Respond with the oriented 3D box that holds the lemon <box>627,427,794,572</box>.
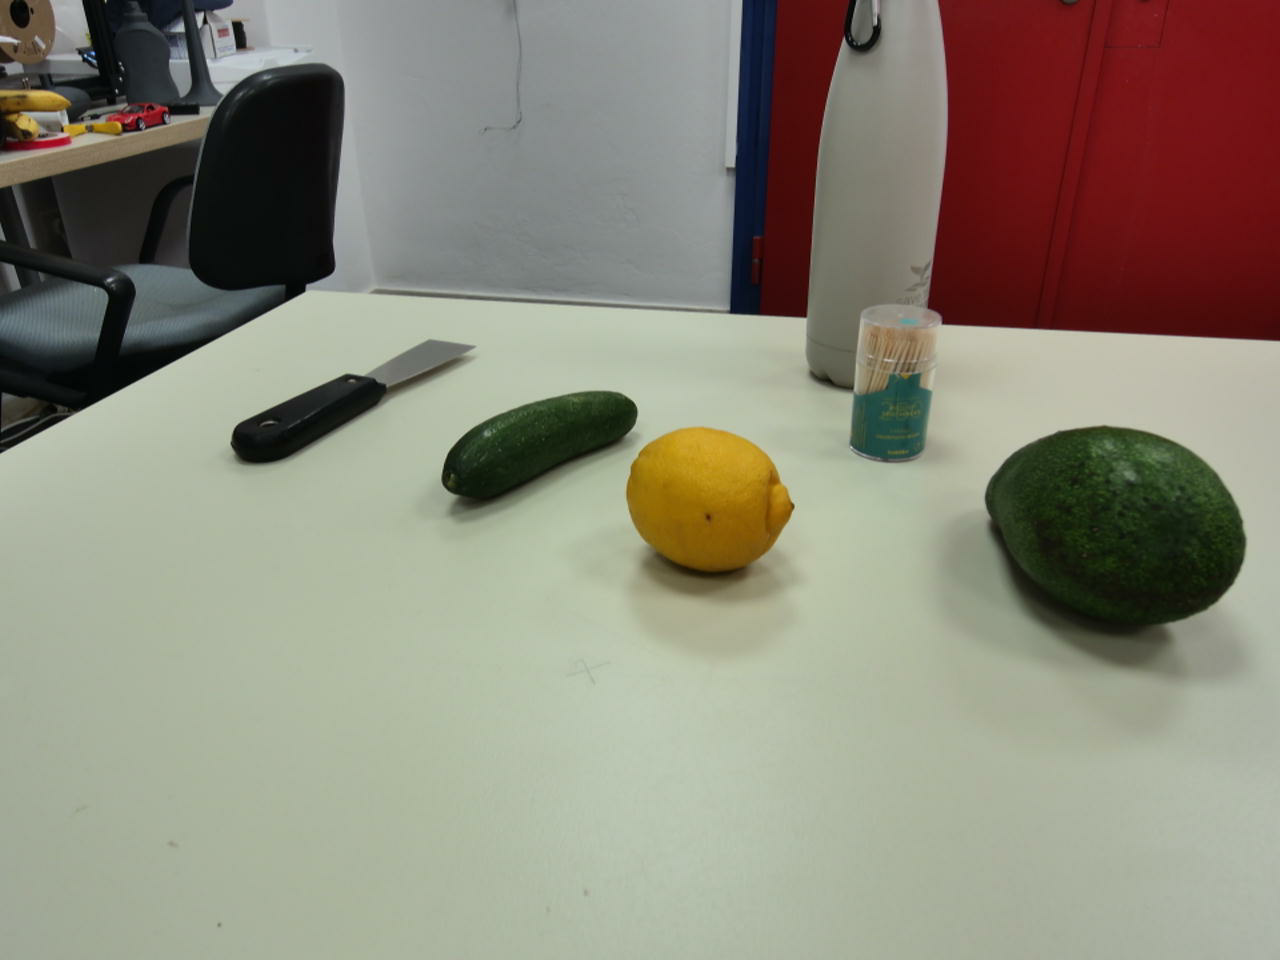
[{"bbox_3d":[0.028,0.009,0.424,0.060,0.059,0.067,-16,28,-31],"label":"lemon"}]
